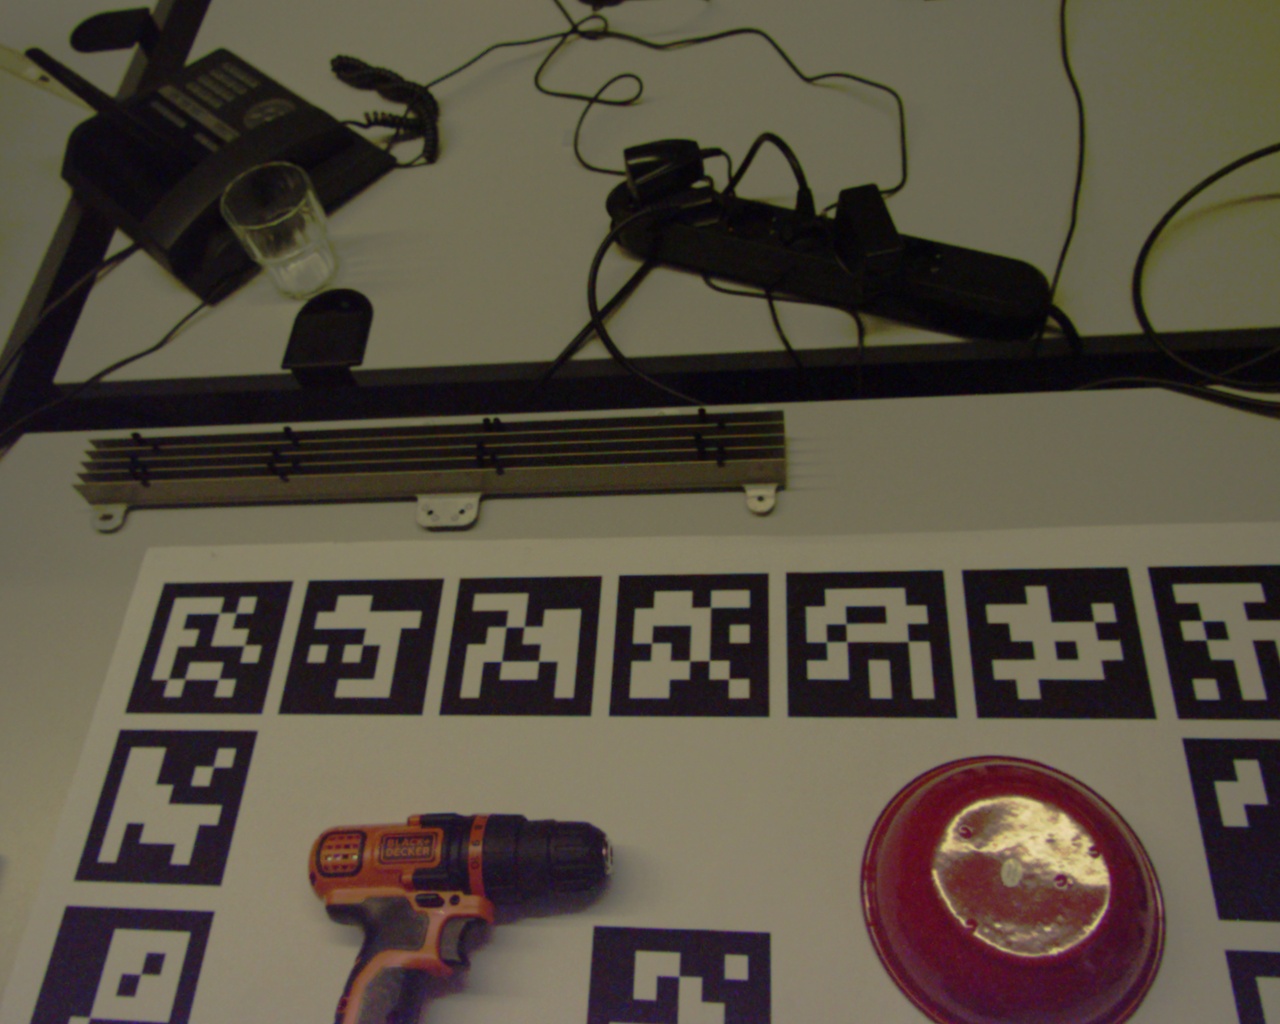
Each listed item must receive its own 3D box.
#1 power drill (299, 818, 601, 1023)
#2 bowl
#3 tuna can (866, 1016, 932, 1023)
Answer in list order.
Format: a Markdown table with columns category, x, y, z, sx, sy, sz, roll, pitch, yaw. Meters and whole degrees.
| category | x | y | z | sx | sy | sz | roll | pitch | yaw |
| --- | --- | --- | --- | --- | --- | --- | --- | --- | --- |
| power drill | -0.118 | 0.269 | 0.656 | 0.185 | 0.057 | 0.187 | -1 | 56 | 6 |
| bowl | 0.194 | 0.198 | 0.649 | 0.162 | 0.055 | 0.162 | -8 | 51 | 8 |
| tuna can | 0.137 | 0.310 | 0.591 | 0.086 | 0.033 | 0.086 | -4 | 58 | 5 |
